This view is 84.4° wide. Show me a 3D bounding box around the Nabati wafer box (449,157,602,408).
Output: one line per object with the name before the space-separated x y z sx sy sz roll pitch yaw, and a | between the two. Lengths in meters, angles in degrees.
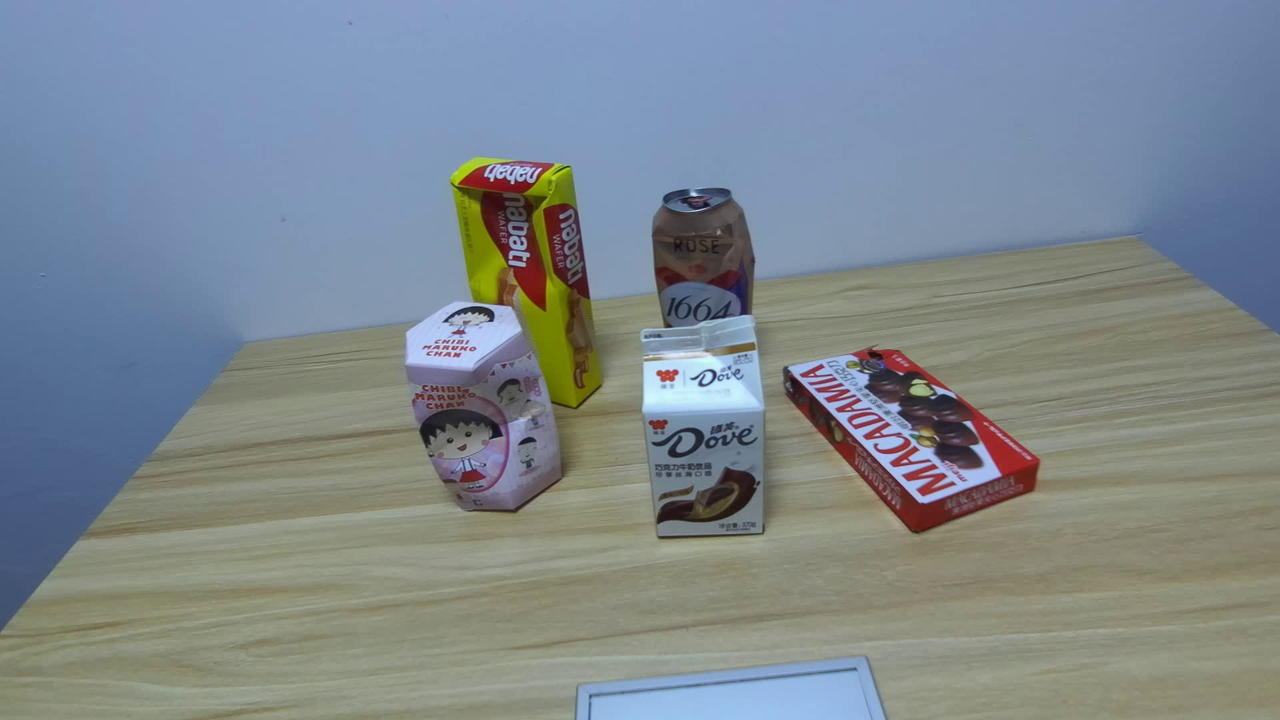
Nabati wafer box | -0.091 -0.058 0.582 0.096 0.204 0.042 14 36 28

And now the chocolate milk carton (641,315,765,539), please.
chocolate milk carton | 0.042 0.037 0.456 0.075 0.148 0.074 -3 34 5

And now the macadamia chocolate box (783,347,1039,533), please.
macadamia chocolate box | 0.193 0.044 0.530 0.103 0.027 0.186 -14 34 -13

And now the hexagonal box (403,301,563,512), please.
hexagonal box | -0.115 0.036 0.512 0.089 0.135 0.093 -20 35 -17

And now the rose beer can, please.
rose beer can | 0.054 -0.053 0.571 0.075 0.167 0.065 12 34 33
